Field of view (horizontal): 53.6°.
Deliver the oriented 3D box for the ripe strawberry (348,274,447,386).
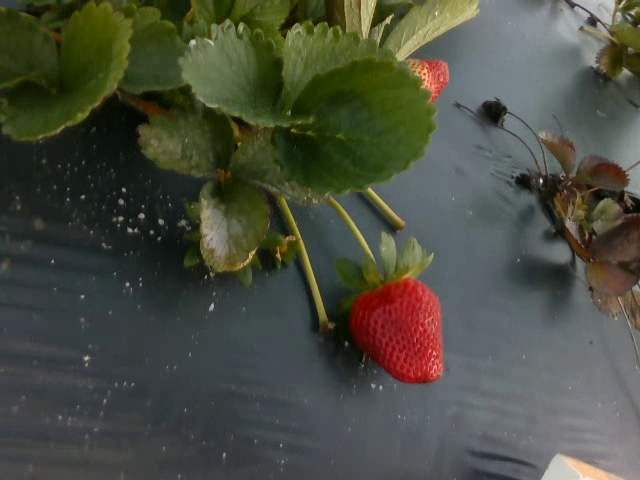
[{"bbox_3d":[0.036,0.041,0.267,0.045,0.042,0.055,-25,40,-3],"label":"ripe strawberry"}]
